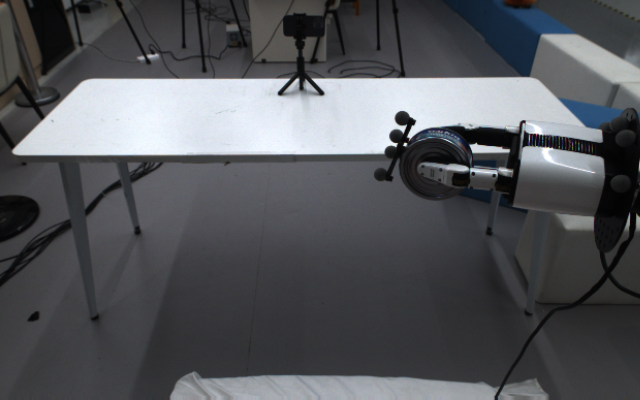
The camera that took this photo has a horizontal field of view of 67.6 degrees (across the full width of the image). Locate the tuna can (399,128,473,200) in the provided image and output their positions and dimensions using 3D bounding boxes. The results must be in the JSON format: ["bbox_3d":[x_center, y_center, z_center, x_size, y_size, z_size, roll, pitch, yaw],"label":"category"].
[{"bbox_3d":[0.144,-0.045,0.593,0.085,0.085,0.034,12,29,14],"label":"tuna can"}]
